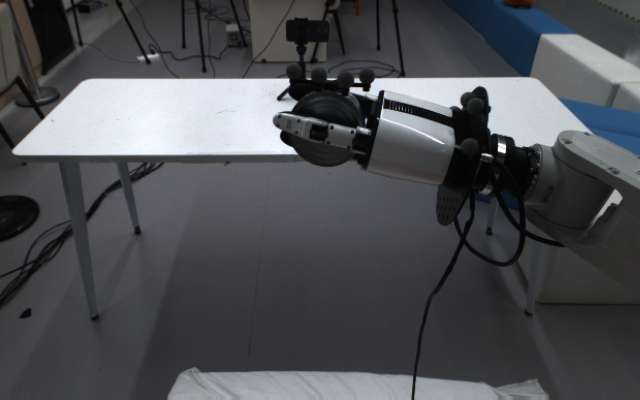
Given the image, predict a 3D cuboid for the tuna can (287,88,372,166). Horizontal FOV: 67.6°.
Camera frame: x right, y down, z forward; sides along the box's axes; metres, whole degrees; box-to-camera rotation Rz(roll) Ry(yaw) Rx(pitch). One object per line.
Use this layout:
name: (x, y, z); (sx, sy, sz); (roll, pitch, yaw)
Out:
tuna can: (0.010, -0.083, 0.548); (0.085, 0.085, 0.034); (6, 22, 6)
